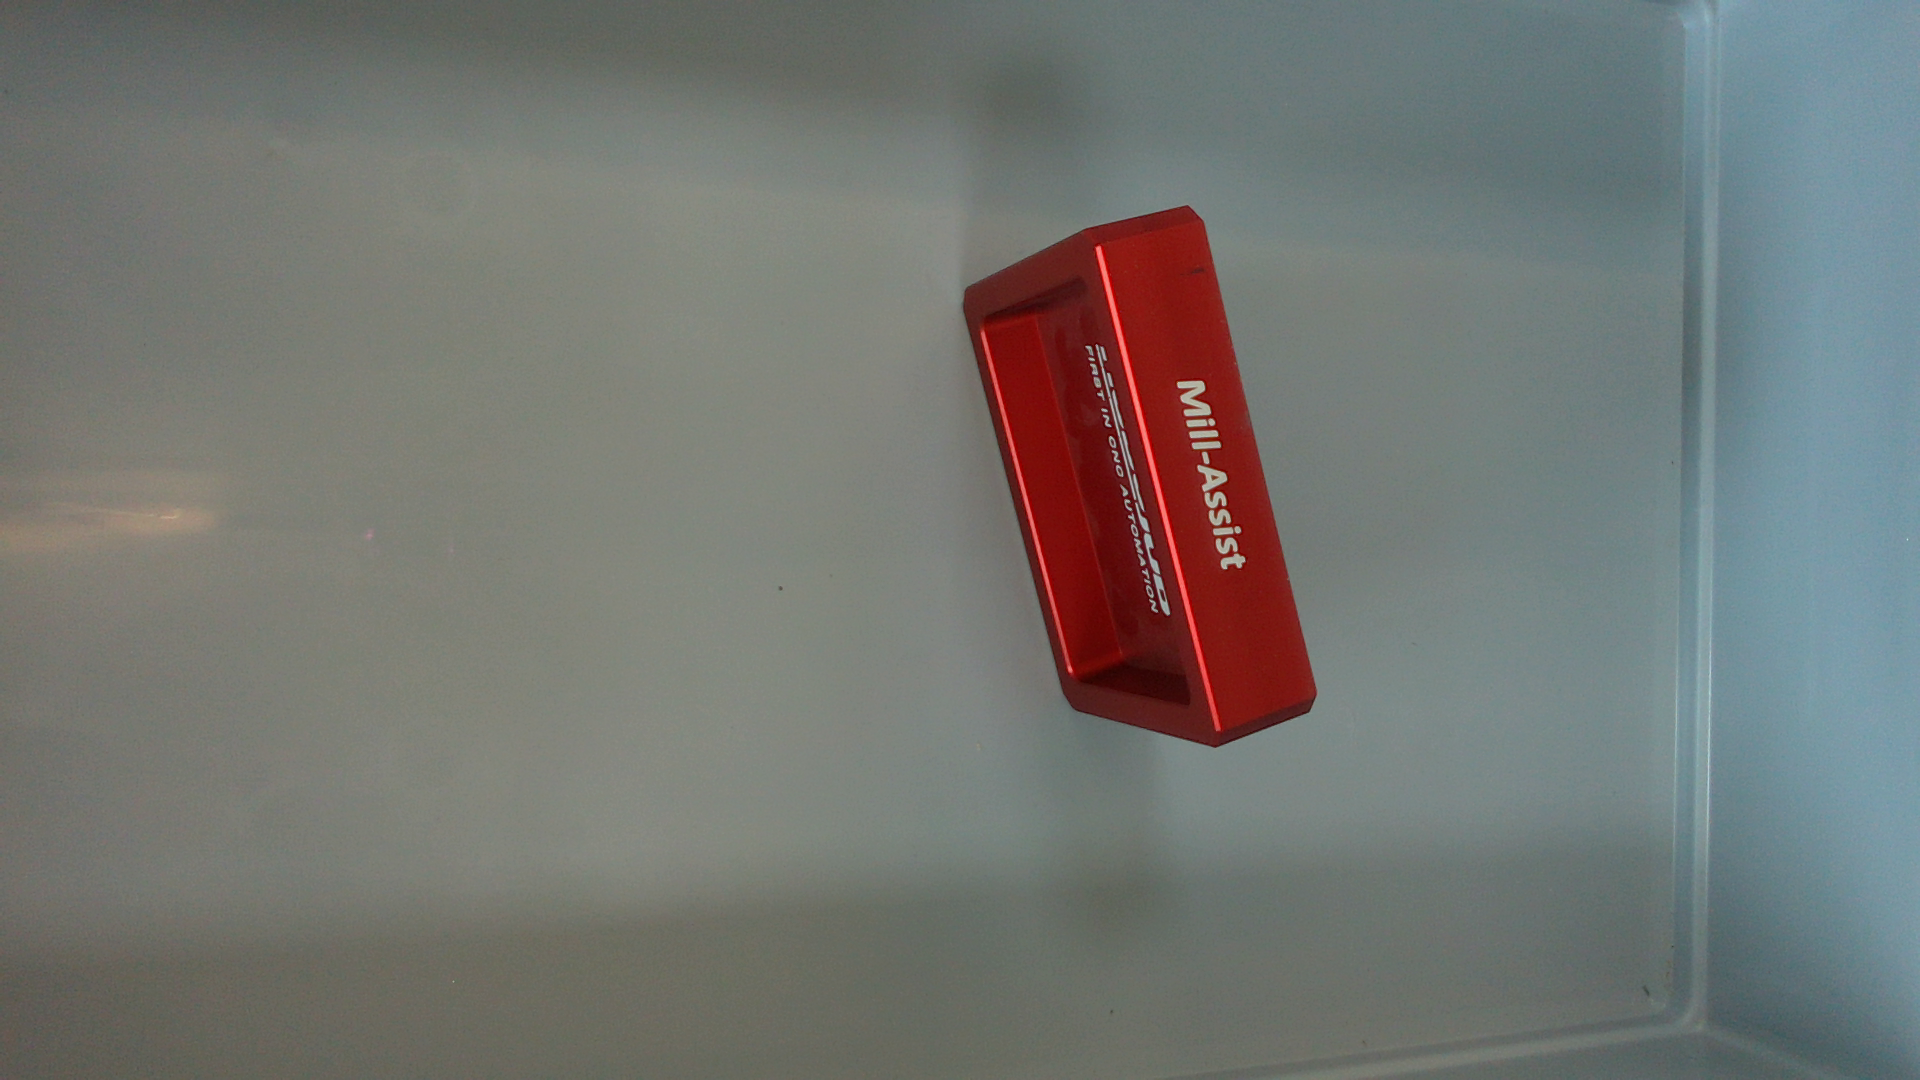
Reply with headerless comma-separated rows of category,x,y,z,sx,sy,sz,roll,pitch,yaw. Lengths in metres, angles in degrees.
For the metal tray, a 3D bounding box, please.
metal tray,0.045,-0.015,0.373,0.030,0.090,0.130,-17,96,-20
